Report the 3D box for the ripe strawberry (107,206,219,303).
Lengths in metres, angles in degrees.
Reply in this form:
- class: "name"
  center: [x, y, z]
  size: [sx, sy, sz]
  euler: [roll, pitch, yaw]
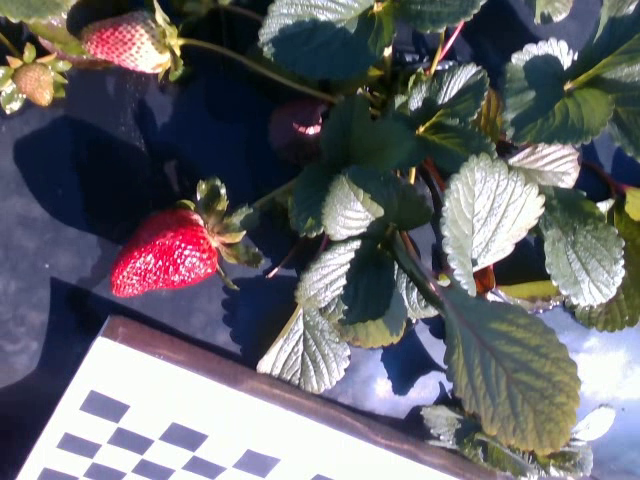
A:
- class: "ripe strawberry"
  center: [-0.076, 0.011, 0.301]
  size: [0.058, 0.066, 0.062]
  euler: [8, 45, 33]
